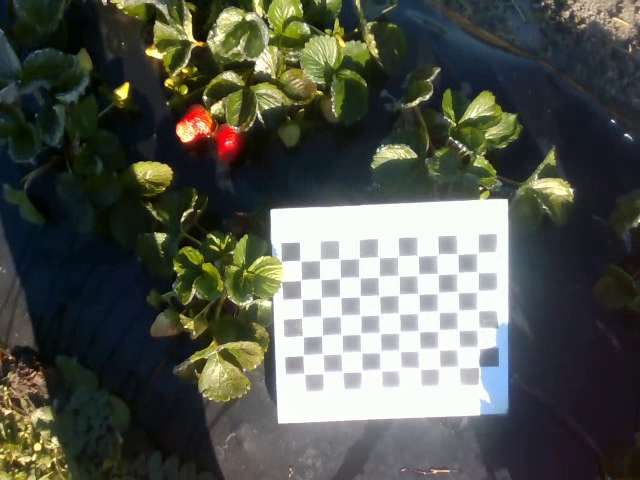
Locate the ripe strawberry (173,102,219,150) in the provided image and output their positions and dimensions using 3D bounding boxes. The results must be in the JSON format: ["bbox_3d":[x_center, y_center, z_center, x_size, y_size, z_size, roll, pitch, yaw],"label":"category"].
[{"bbox_3d":[-0.185,-0.167,0.919,0.052,0.070,0.040,45,-4,-6],"label":"ripe strawberry"}]

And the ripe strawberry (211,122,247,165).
[{"bbox_3d":[-0.137,-0.146,0.908,0.043,0.059,0.040,-2,-3,3],"label":"ripe strawberry"}]
